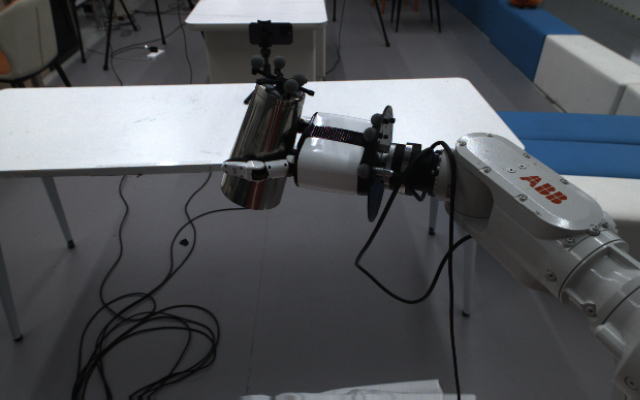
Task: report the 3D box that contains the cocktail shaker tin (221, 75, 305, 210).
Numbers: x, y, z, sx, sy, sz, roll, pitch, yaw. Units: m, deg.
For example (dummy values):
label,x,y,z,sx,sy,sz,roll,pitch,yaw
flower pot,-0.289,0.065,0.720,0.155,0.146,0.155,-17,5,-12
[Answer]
label,x,y,z,sx,sy,sz,roll,pitch,yaw
cocktail shaker tin,-0.076,-0.084,0.678,0.093,0.170,0.093,15,32,-10
